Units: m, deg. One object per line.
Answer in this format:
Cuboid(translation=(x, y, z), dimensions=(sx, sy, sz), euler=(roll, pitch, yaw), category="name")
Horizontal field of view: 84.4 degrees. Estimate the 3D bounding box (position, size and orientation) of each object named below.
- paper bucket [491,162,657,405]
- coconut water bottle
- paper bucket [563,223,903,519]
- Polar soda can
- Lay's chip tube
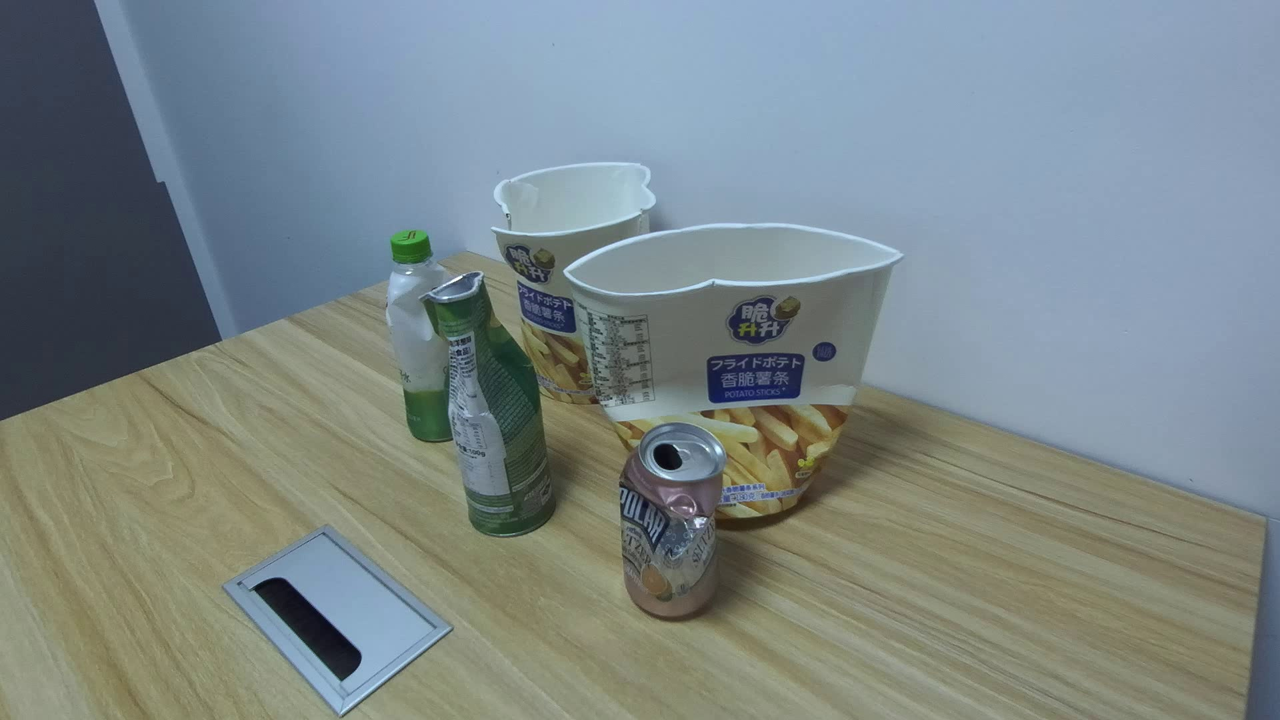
Cuboid(translation=(-0.051, -0.081, 0.713), dimensions=(0.146, 0.197, 0.202), euler=(-8, 31, -3), category="paper bucket")
Cuboid(translation=(-0.193, -0.020, 0.642), dimensions=(0.067, 0.187, 0.067), euler=(0, 27, 0), category="coconut water bottle")
Cuboid(translation=(0.072, 0.007, 0.546), dimensions=(0.219, 0.199, 0.147), euler=(-23, 37, -30), category="paper bucket")
Cuboid(translation=(0.026, 0.107, 0.462), dimensions=(0.067, 0.122, 0.070), euler=(-9, 31, -21), category="Polar soda can")
Cuboid(translation=(-0.114, 0.032, 0.525), dimensions=(0.071, 0.199, 0.079), euler=(7, 29, 29), category="Lay's chip tube")
